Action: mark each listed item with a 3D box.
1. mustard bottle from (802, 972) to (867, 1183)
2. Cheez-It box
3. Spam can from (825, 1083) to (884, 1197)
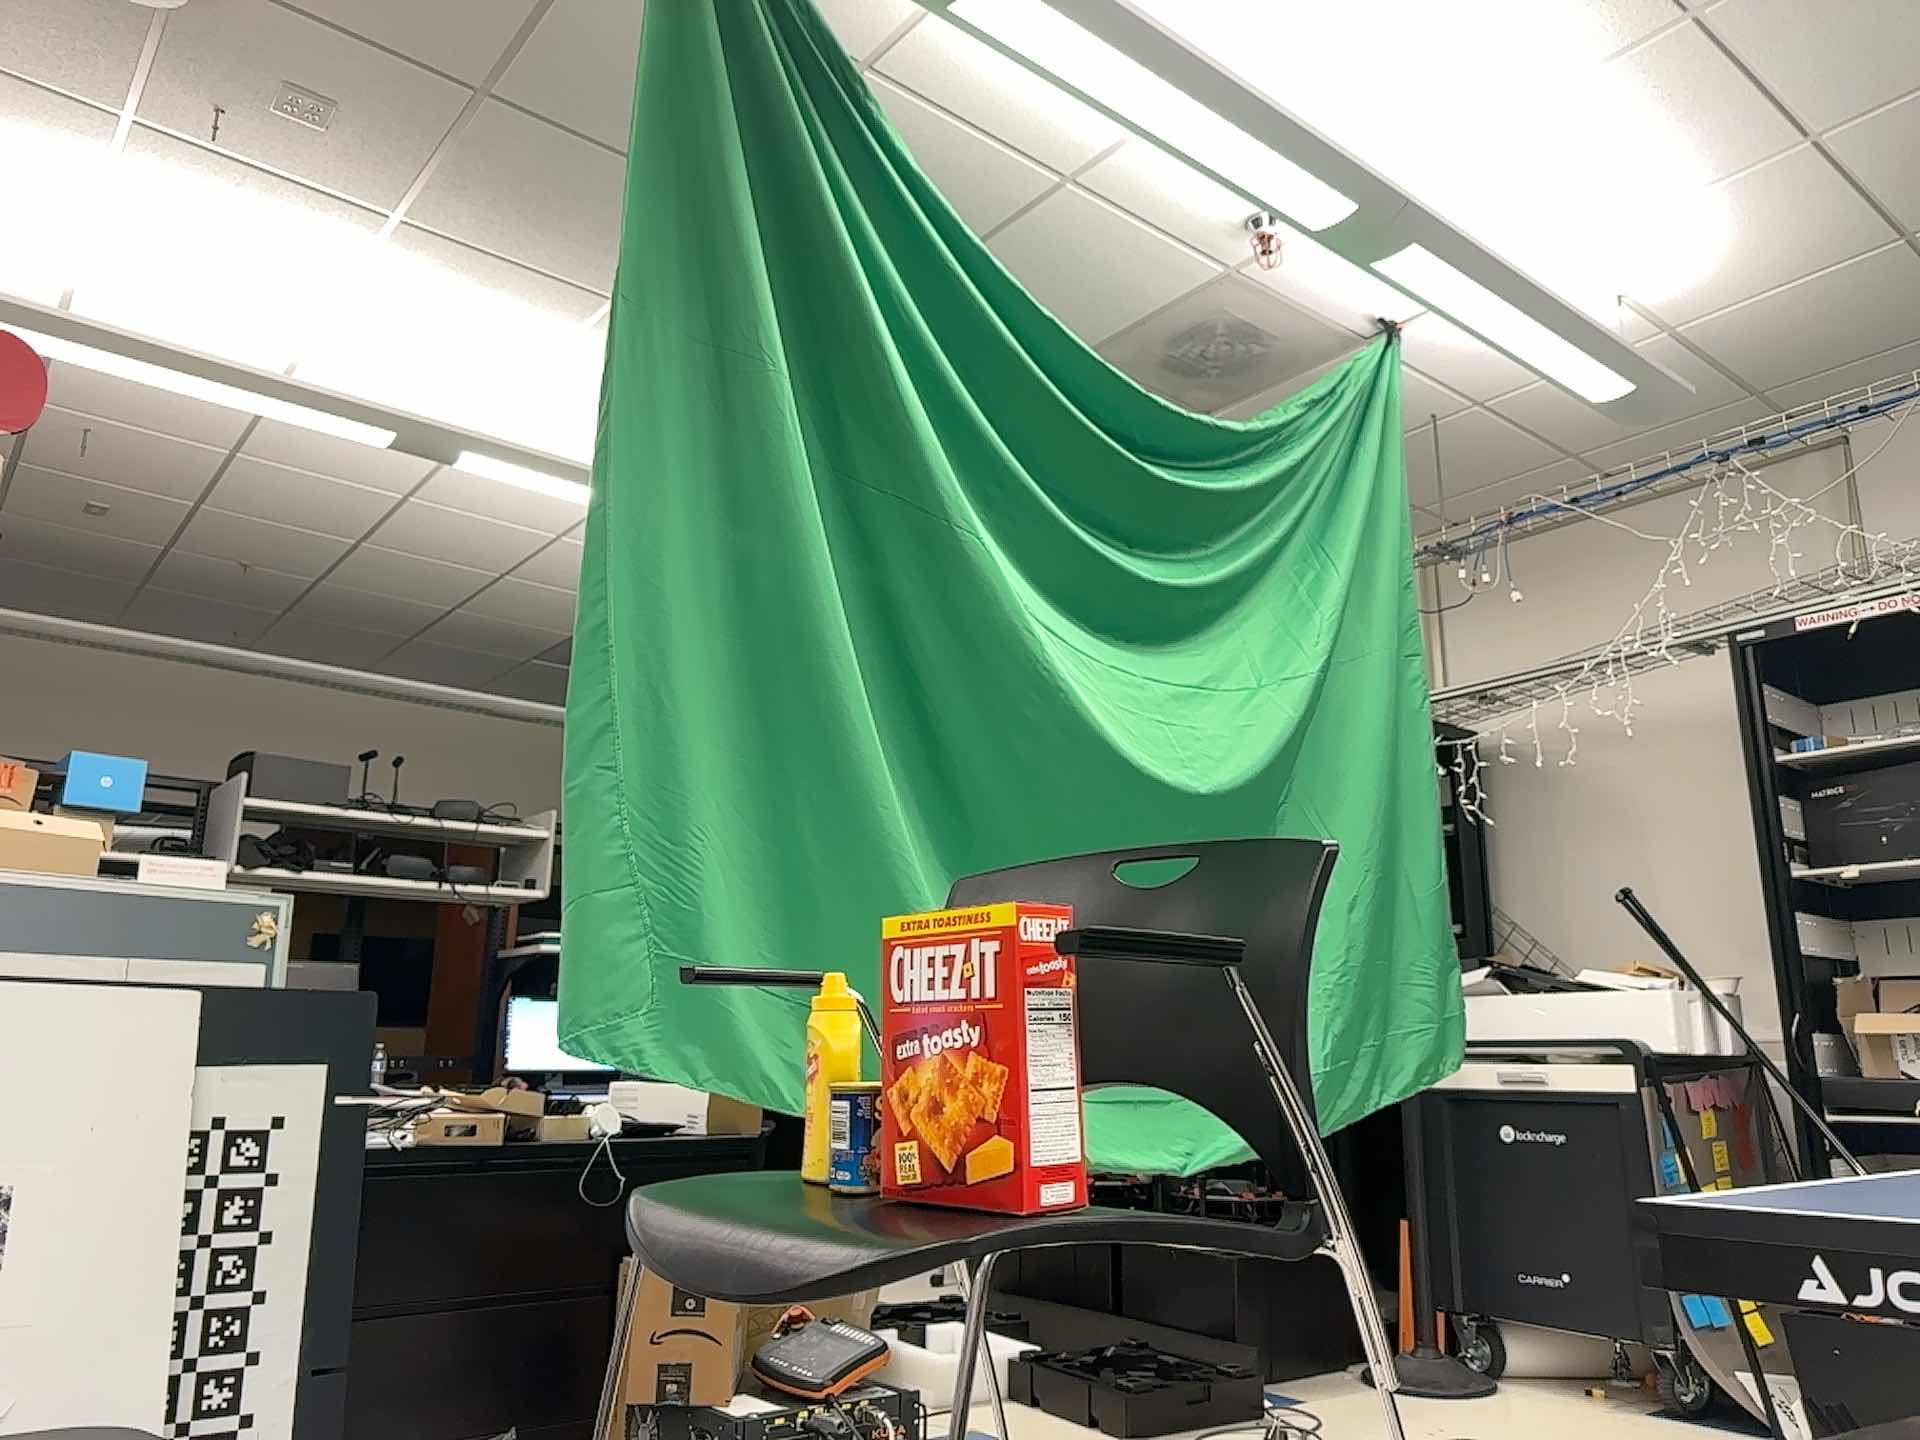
[{"bbox_3d":[-0.115,0.325,1.243,0.054,0.184,0.092,3,-11,-22],"label":"mustard bottle"},{"bbox_3d":[0.010,0.258,1.050,0.062,0.214,0.159,10,-16,-36],"label":"Cheez-It box"},{"bbox_3d":[-0.063,0.358,1.161,0.100,0.083,0.056,6,-12,-36],"label":"Spam can"}]
